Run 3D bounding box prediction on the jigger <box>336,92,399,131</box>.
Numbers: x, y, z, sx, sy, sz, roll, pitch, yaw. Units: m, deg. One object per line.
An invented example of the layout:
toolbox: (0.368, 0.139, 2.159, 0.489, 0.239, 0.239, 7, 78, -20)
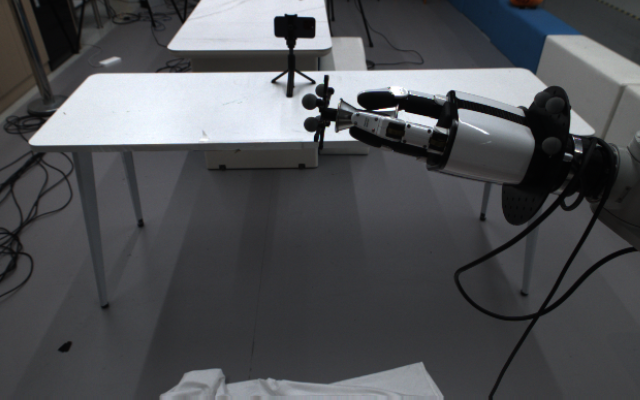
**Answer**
jigger: (0.062, -0.099, 0.566, 0.071, 0.043, 0.043, 7, 35, 8)
